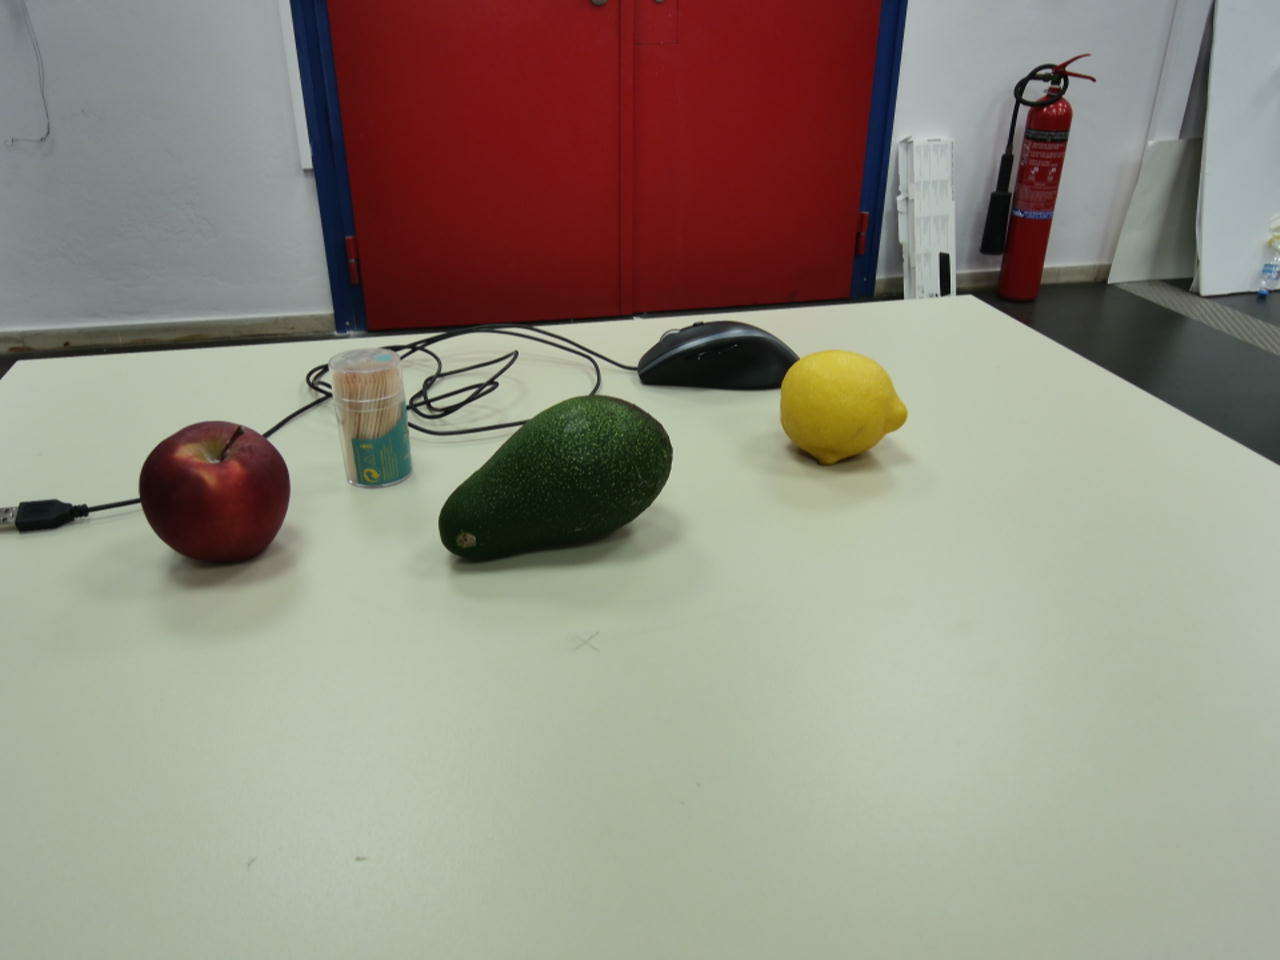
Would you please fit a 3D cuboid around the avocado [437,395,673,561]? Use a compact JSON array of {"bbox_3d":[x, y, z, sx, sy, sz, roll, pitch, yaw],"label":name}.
[{"bbox_3d":[-0.044,-0.005,0.519,0.123,0.076,0.074,-3,26,-6],"label":"avocado"}]
